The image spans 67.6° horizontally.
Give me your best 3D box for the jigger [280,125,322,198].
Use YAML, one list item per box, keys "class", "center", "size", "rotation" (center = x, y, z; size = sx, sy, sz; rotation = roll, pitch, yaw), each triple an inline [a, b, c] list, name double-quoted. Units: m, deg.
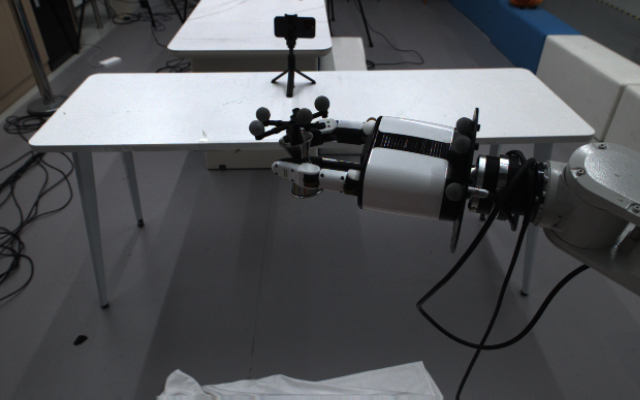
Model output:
- class: "jigger"
  center: [-0.020, -0.042, 0.571]
  size: [0.043, 0.071, 0.043]
  rotation: [-10, 32, 6]
